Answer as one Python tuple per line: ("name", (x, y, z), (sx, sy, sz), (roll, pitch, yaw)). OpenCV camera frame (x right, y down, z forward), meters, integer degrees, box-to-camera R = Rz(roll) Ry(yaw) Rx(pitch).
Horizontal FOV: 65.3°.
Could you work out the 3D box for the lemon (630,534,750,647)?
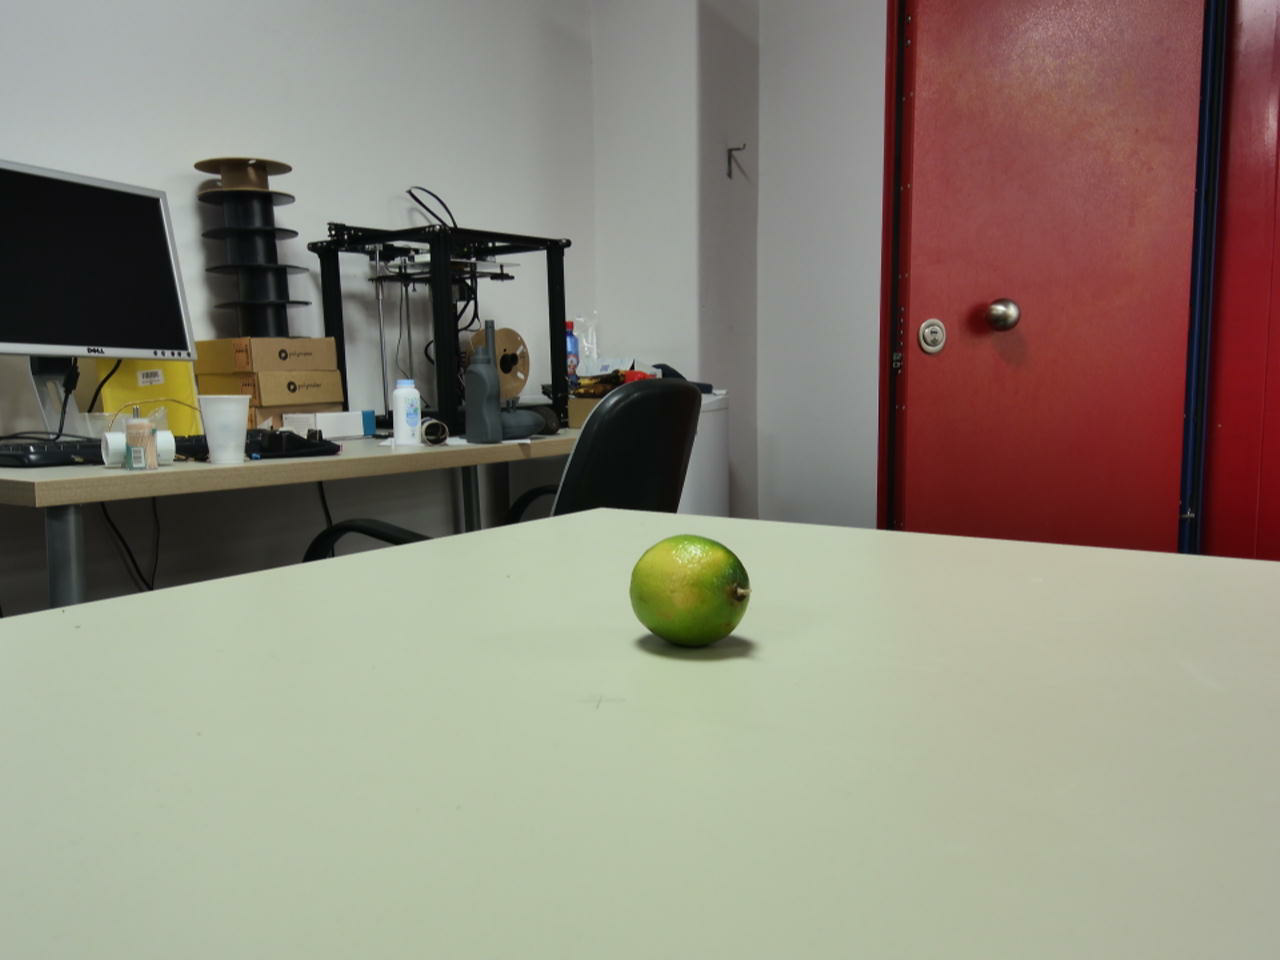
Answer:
("lemon", (0.023, 0.051, 0.467), (0.054, 0.050, 0.055), (-1, 3, -3))
